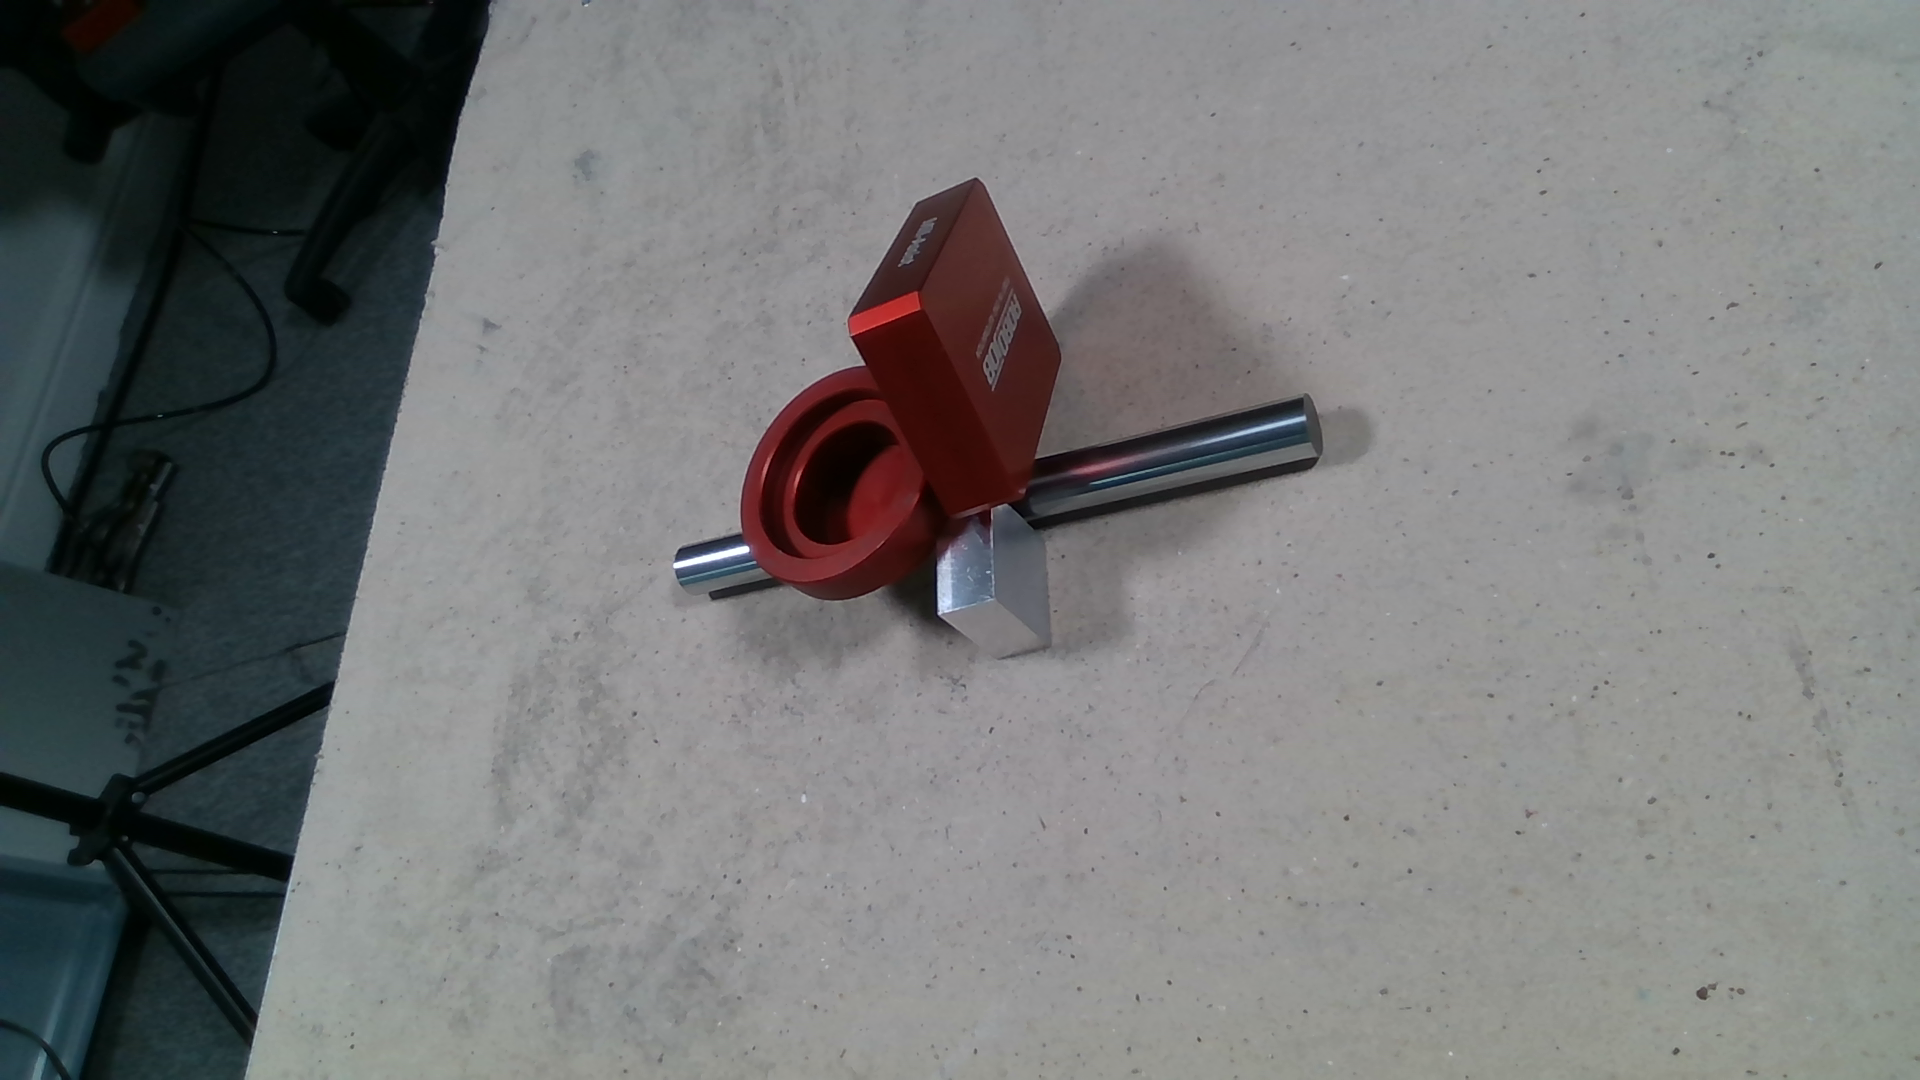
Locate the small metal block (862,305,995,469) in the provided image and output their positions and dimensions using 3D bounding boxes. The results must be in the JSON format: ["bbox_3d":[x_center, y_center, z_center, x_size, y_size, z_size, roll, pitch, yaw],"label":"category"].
[{"bbox_3d":[-0.014,-0.068,0.614,0.025,0.050,0.050,-31,53,14],"label":"small metal block"}]

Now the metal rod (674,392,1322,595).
[{"bbox_3d":[0.003,-0.015,0.592,0.300,0.025,0.025,-12,60,26],"label":"metal rod"}]

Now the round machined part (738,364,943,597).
[{"bbox_3d":[-0.042,-0.021,0.576,0.098,0.042,0.098,-15,60,28],"label":"round machined part"}]

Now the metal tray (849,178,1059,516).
[{"bbox_3d":[0.003,-0.081,0.555,0.030,0.090,0.130,-17,28,22],"label":"metal tray"}]

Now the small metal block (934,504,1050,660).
[{"bbox_3d":[0.013,0.014,0.554,0.025,0.050,0.050,-16,58,24],"label":"small metal block"}]
